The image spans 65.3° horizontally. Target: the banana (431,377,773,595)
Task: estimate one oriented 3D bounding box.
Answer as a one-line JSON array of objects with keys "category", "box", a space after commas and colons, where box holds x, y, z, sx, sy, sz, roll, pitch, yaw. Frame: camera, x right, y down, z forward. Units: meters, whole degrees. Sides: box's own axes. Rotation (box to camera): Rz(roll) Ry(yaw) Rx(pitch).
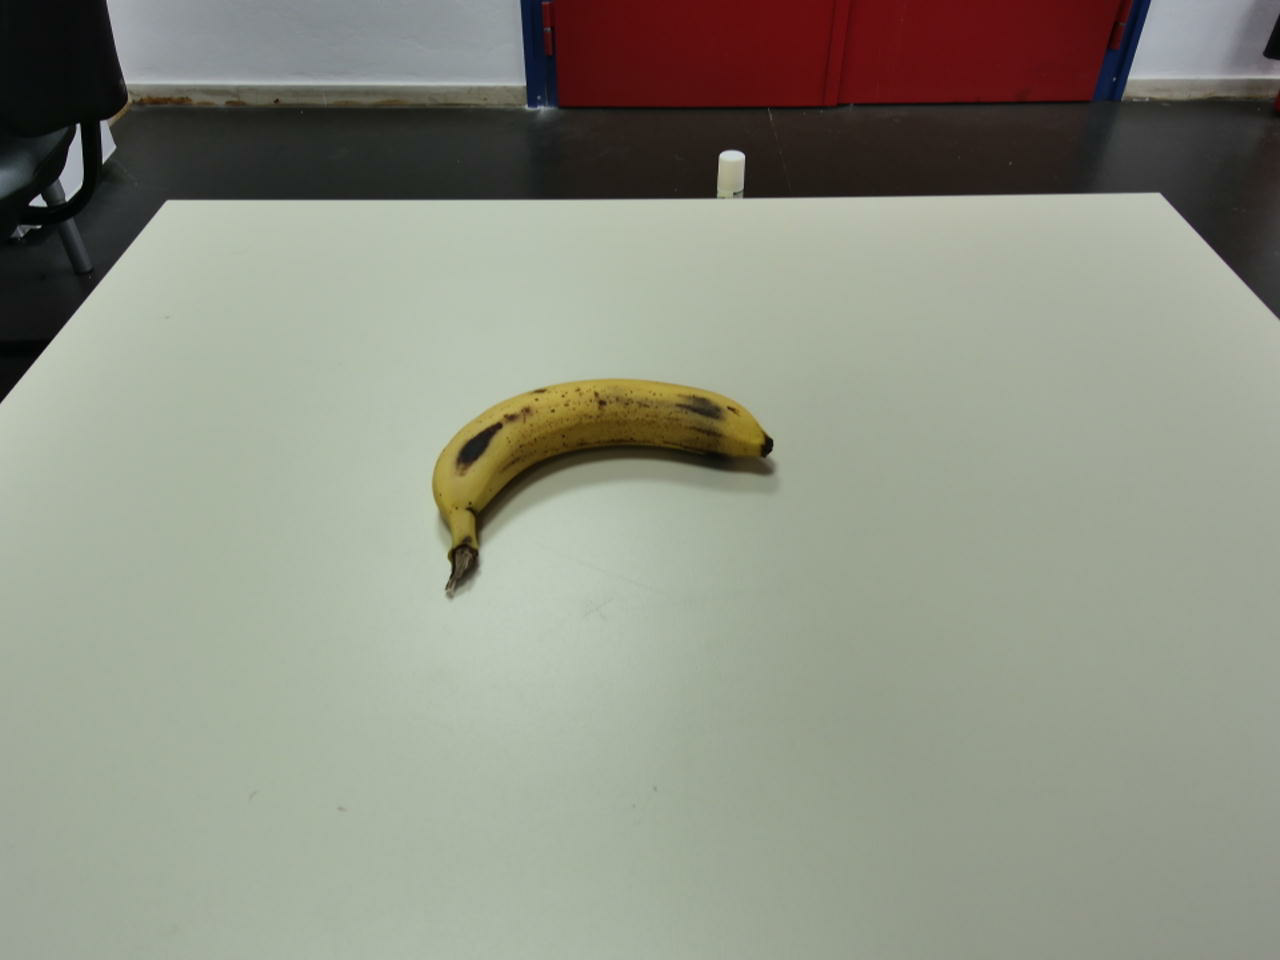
[{"category": "banana", "box": [-0.029, -0.017, 0.540, 0.186, 0.038, 0.097, -18, 42, -21]}]
